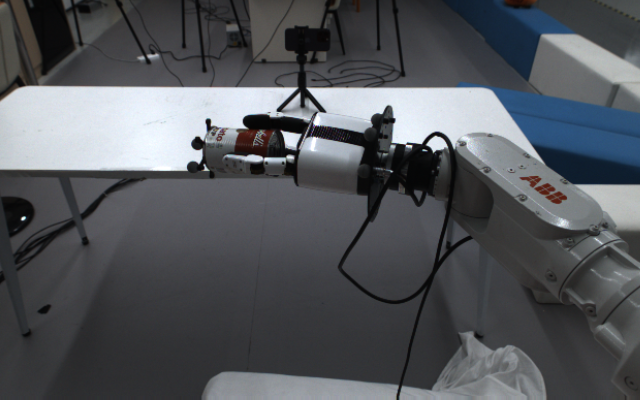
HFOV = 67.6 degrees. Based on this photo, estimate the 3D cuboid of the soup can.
[{"bbox_3d":[-0.108,-0.069,0.703,0.101,0.067,0.067,5,34,14],"label":"soup can"}]
